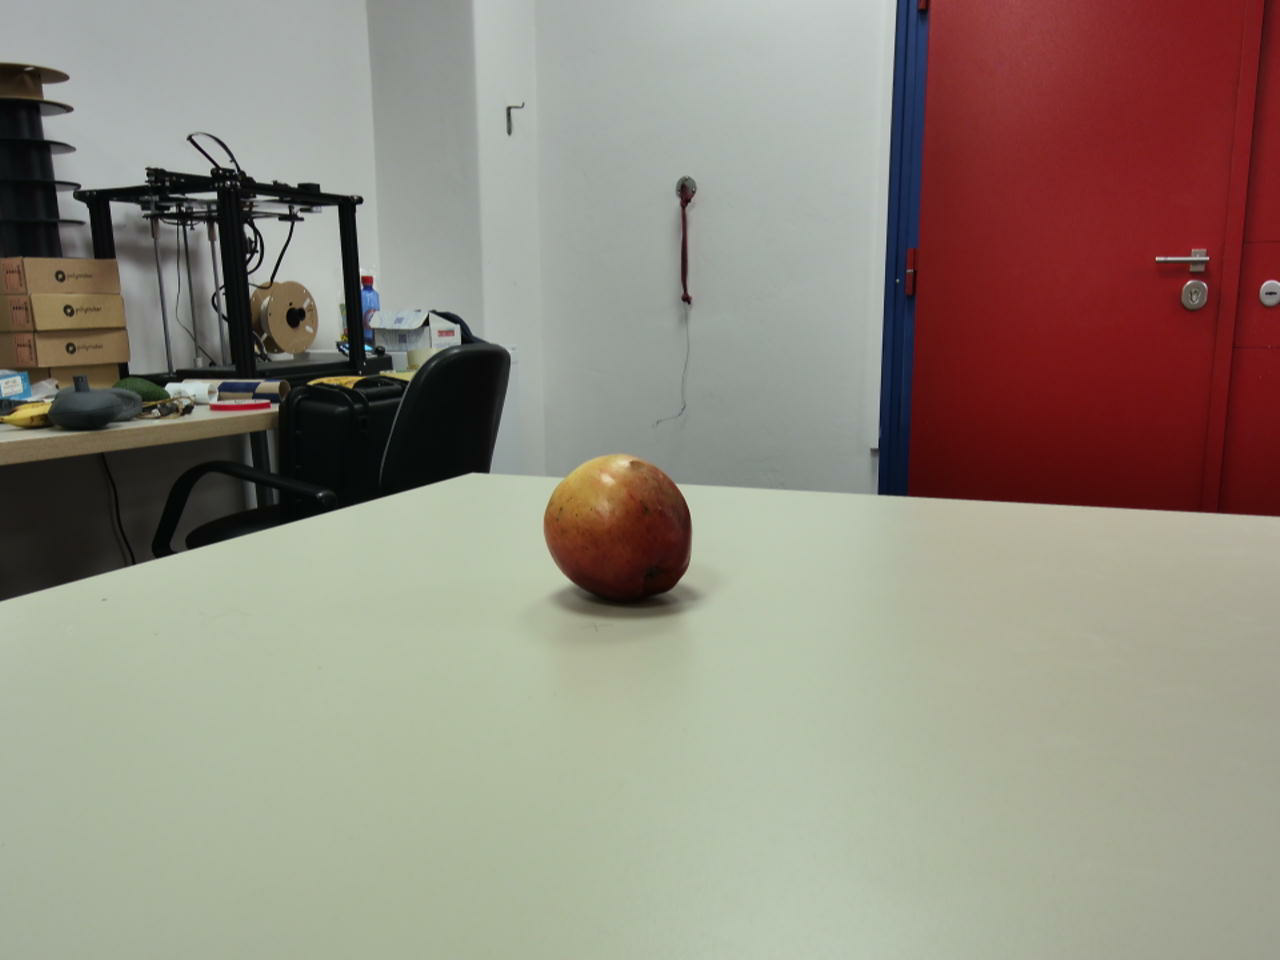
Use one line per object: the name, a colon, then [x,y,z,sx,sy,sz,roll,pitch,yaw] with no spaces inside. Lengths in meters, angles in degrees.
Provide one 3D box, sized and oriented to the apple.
apple: [-0.014,0.027,0.598,0.086,0.084,0.093,-1,7,-13]
